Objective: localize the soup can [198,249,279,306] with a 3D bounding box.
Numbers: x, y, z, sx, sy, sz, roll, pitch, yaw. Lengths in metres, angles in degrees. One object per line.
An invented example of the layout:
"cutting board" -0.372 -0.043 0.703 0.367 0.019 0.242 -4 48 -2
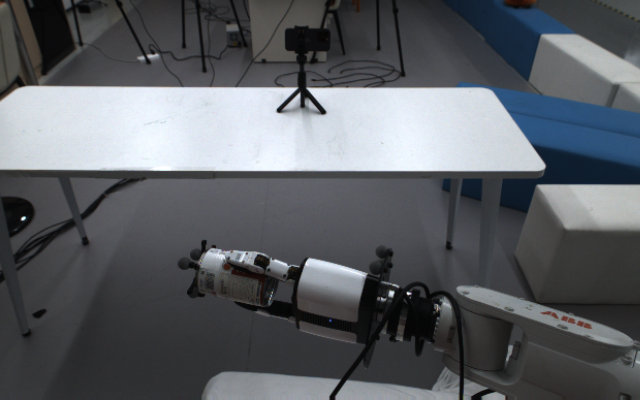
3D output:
"soup can" -0.112 0.110 0.680 0.101 0.067 0.067 10 35 10
